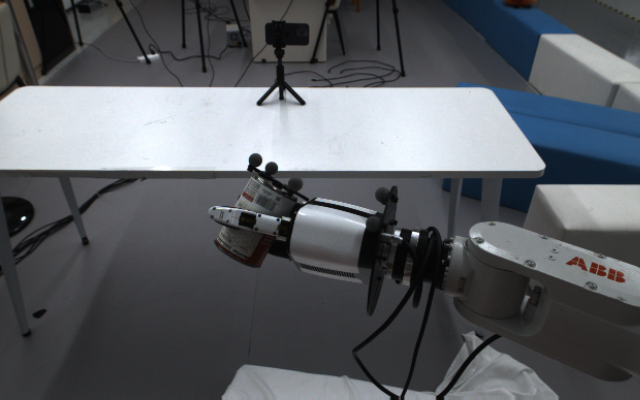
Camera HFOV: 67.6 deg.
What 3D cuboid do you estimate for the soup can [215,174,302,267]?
[{"bbox_3d":[-0.080,0.027,0.617,0.067,0.101,0.067,30,2,-1],"label":"soup can"}]
